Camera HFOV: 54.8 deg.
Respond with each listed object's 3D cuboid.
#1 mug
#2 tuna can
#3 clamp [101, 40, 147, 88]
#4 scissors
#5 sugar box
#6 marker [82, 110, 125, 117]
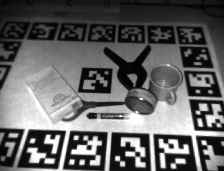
[{"bbox_3d":[0.141,-0.004,0.638,0.094,0.082,0.116,-21,55,-14],"label":"mug"},{"bbox_3d":[0.078,0.035,0.605,0.085,0.086,0.034,16,58,11],"label":"tuna can"},{"bbox_3d":[0.055,-0.065,0.714,0.166,0.037,0.201,-6,57,-5],"label":"clamp"},{"bbox_3d":[-0.068,0.043,0.636,0.203,0.016,0.087,-6,53,-7],"label":"scissors"},{"bbox_3d":[-0.174,0.012,0.637,0.093,0.045,0.174,-30,55,-19],"label":"sugar box"},{"bbox_3d":[-0.024,0.080,0.615,0.121,0.020,0.019,-2,57,-1],"label":"marker"}]
